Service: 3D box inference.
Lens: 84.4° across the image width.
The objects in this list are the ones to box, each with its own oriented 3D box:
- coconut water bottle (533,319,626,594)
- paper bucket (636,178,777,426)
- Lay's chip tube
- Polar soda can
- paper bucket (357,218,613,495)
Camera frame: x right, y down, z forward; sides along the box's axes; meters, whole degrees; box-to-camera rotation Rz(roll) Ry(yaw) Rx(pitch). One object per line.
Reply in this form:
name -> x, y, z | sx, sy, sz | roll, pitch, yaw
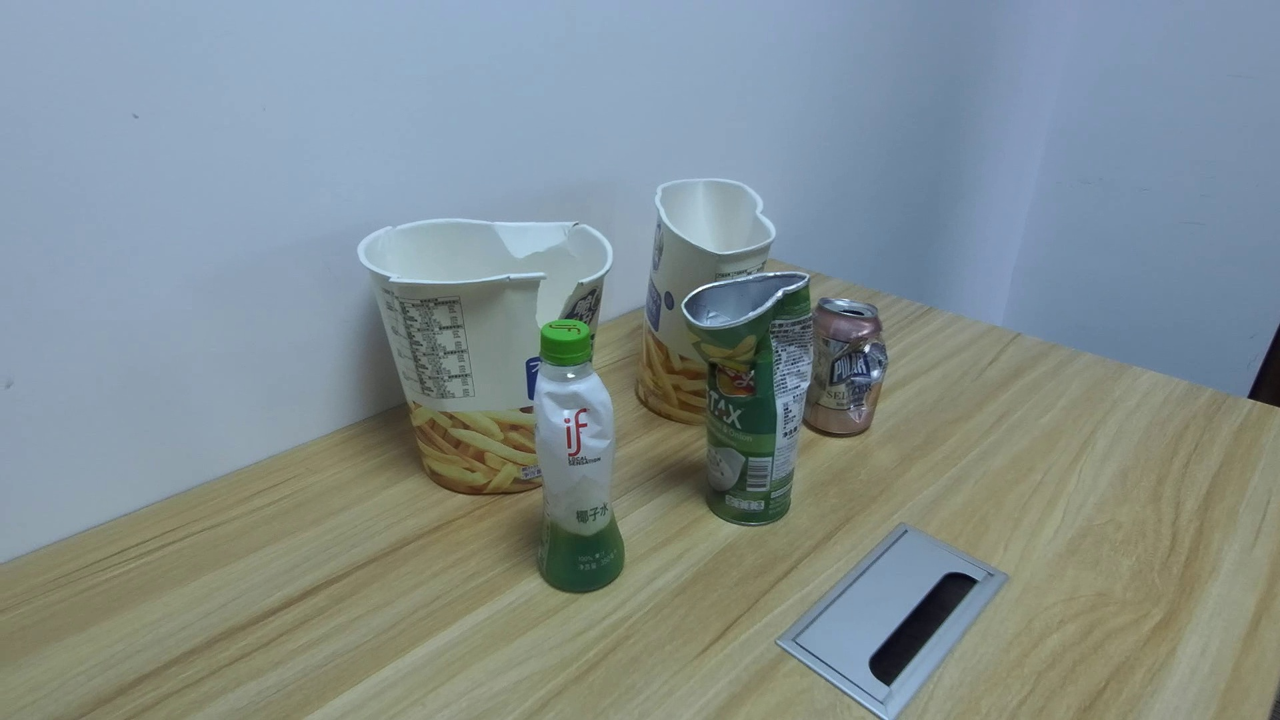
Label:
coconut water bottle -> -0.043, 0.065, 0.476 | 0.067, 0.187, 0.067 | -1, 26, 1
paper bucket -> 0.068, -0.057, 0.687 | 0.148, 0.199, 0.217 | -14, 30, -24
Lay's chip tube -> 0.079, 0.033, 0.523 | 0.078, 0.200, 0.071 | 16, 41, 33
Polar soda can -> 0.189, 0.004, 0.654 | 0.071, 0.122, 0.066 | -10, 24, -16
paper bucket -> -0.124, -0.007, 0.602 | 0.203, 0.197, 0.145 | -1, 30, 2
